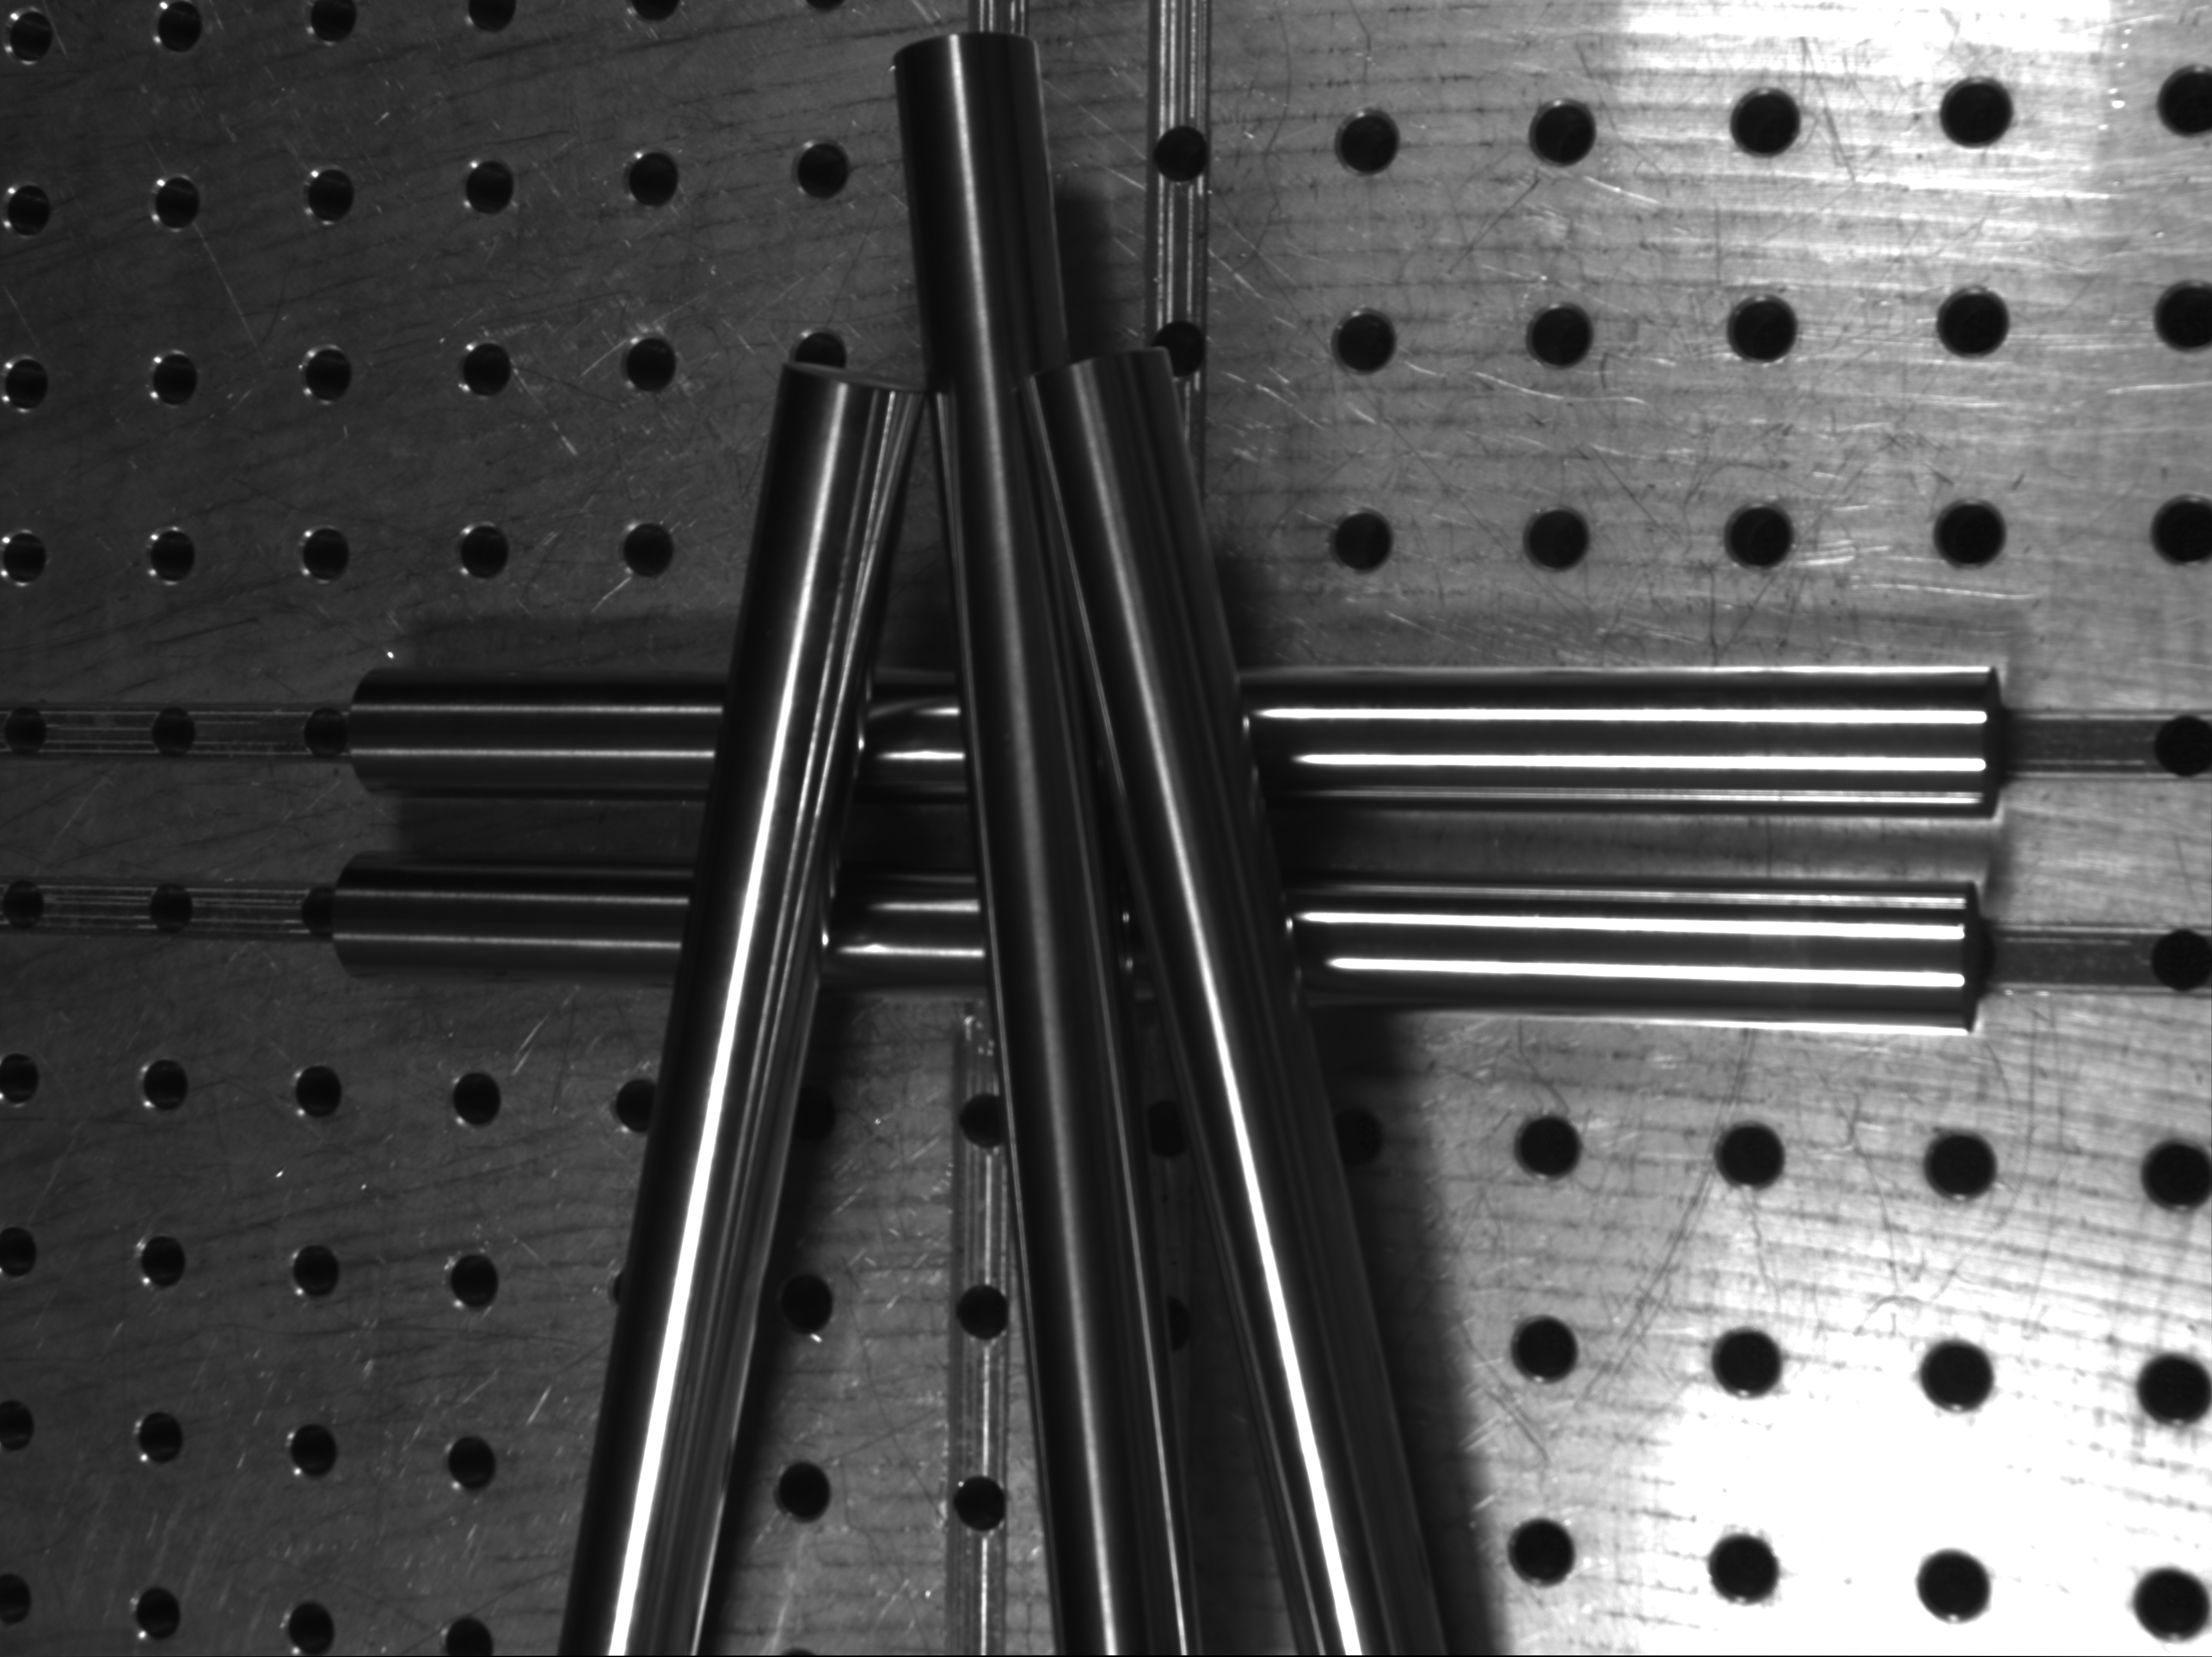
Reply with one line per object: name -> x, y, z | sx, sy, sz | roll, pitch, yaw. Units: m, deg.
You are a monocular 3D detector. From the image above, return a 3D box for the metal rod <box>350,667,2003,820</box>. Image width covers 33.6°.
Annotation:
metal rod -> 0.004, -0.016, 0.646 | 0.299, 0.025, 0.025 | 1, 90, 20

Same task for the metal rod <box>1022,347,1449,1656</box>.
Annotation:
metal rod -> 0.030, 0.069, 0.616 | 0.025, 0.025, 0.300 | -11, 93, 19

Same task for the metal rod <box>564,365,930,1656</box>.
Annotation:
metal rod -> -0.070, 0.068, 0.652 | 0.025, 0.025, 0.300 | 15, 102, 19

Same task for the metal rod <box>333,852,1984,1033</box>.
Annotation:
metal rod -> 0.001, 0.019, 0.647 | 0.299, 0.025, 0.025 | 1, 90, 20

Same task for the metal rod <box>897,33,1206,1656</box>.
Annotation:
metal rod -> -0.008, 0.016, 0.624 | 0.025, 0.025, 0.300 | -7, 88, 20
